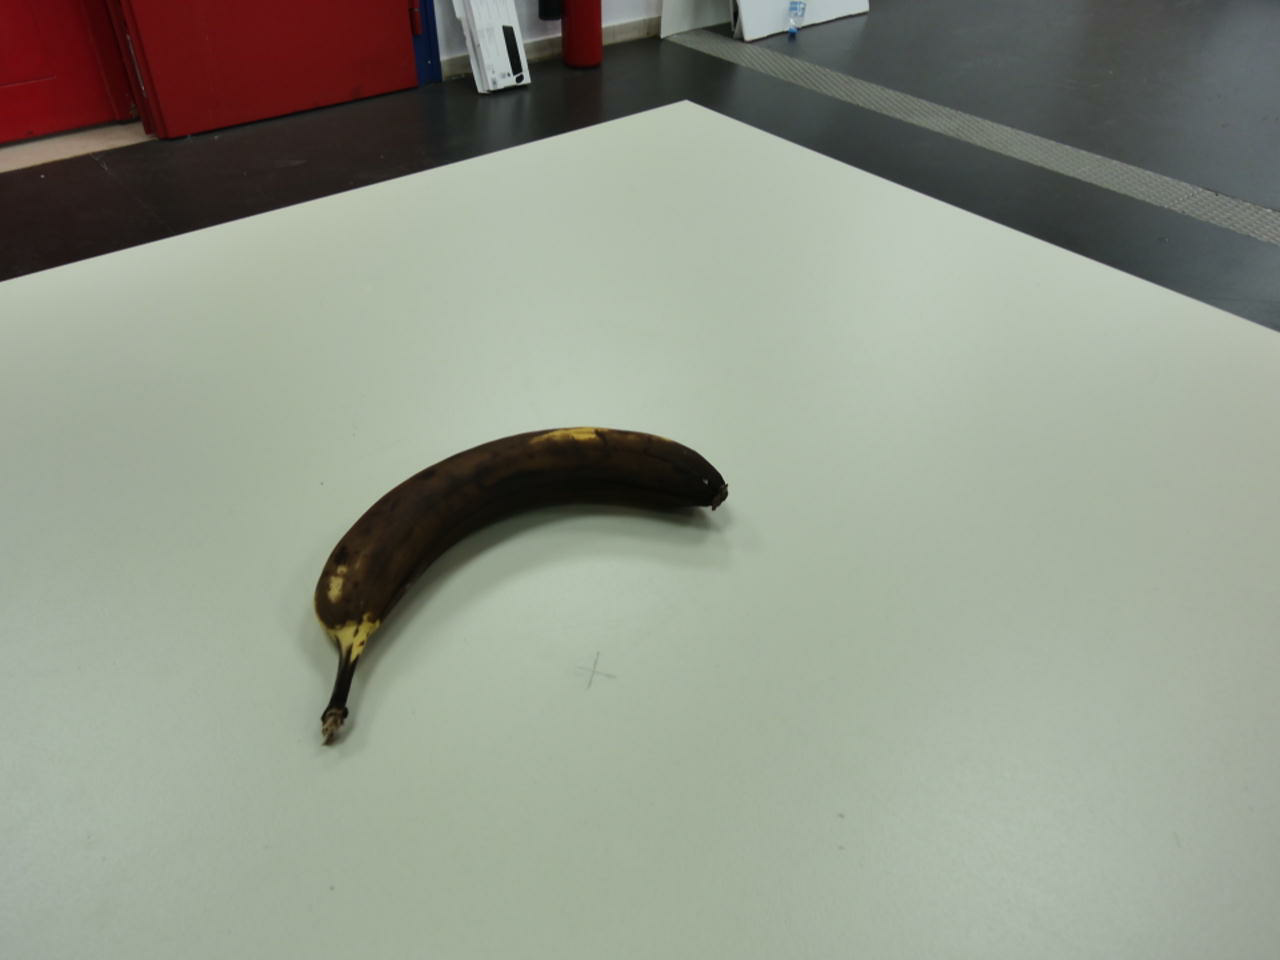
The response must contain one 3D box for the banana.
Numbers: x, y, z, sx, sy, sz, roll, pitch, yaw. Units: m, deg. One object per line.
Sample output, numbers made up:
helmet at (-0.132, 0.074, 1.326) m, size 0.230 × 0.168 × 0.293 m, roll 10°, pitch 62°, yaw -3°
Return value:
banana at (-0.059, 0.019, 0.399) m, size 0.188 × 0.034 × 0.091 m, roll -26°, pitch 44°, yaw -30°
